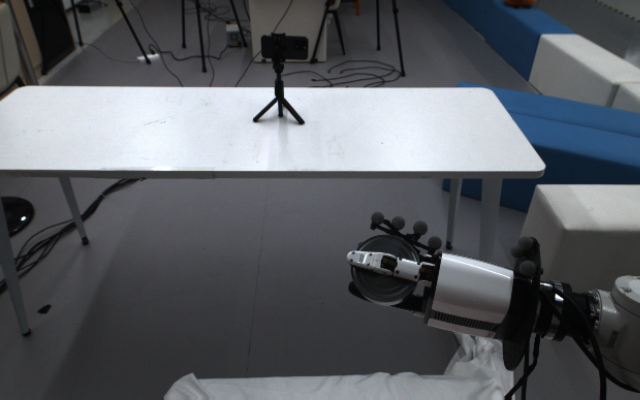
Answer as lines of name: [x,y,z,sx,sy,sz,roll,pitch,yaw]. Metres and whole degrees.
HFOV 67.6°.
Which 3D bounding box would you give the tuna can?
tuna can: [0.085,0.085,0.608,0.085,0.034,0.085,-4,66,10]
